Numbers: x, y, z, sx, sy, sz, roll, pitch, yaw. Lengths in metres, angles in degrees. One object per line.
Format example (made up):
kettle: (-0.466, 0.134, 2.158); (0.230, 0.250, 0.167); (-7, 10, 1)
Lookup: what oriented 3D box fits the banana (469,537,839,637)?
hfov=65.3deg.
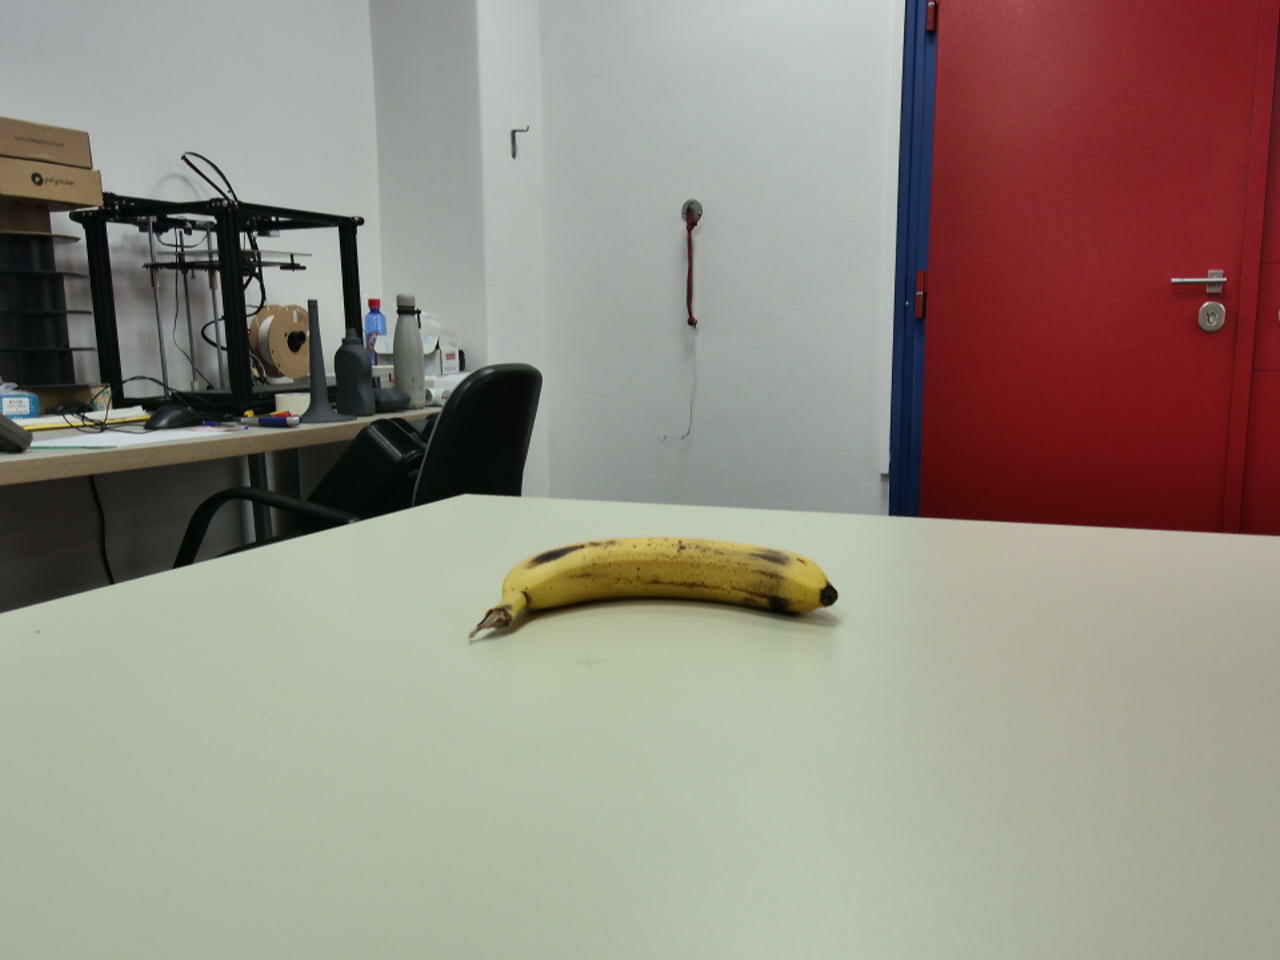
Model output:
banana: (0.008, 0.055, 0.556); (0.186, 0.038, 0.097); (0, 6, -4)
